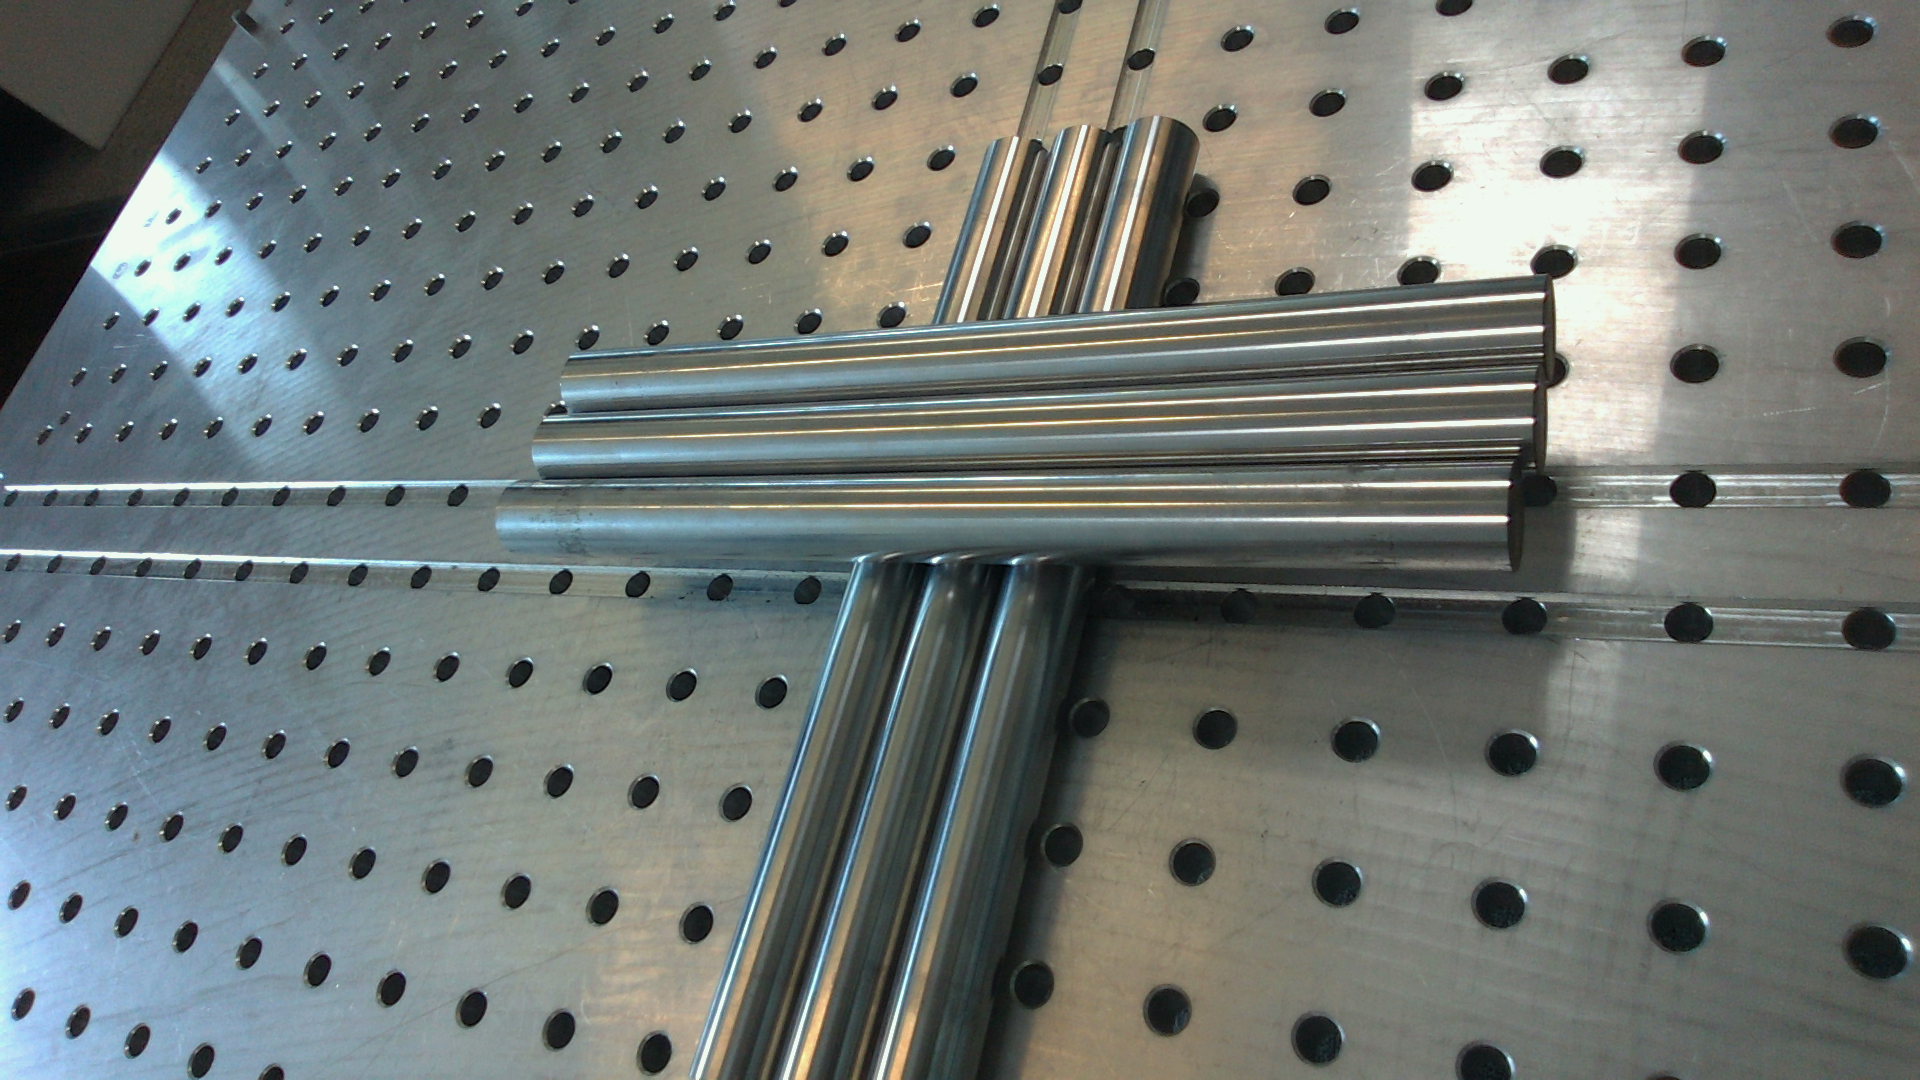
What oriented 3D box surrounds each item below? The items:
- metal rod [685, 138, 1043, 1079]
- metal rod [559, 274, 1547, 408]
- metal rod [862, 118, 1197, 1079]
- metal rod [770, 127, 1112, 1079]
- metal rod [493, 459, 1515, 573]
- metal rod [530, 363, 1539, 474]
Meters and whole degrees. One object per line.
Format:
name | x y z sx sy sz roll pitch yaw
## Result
metal rod | -0.018 0.005 0.404 0.025 0.025 0.300 2 62 29
metal rod | 0.005 -0.050 0.393 0.299 0.025 0.025 0 62 29
metal rod | 0.025 0.006 0.380 0.025 0.025 0.300 2 62 29
metal rod | 0.003 0.005 0.392 0.025 0.025 0.300 2 62 29
metal rod | -0.010 -0.006 0.374 0.299 0.025 0.025 0 62 29
metal rod | -0.001 -0.028 0.383 0.299 0.025 0.025 0 62 29
